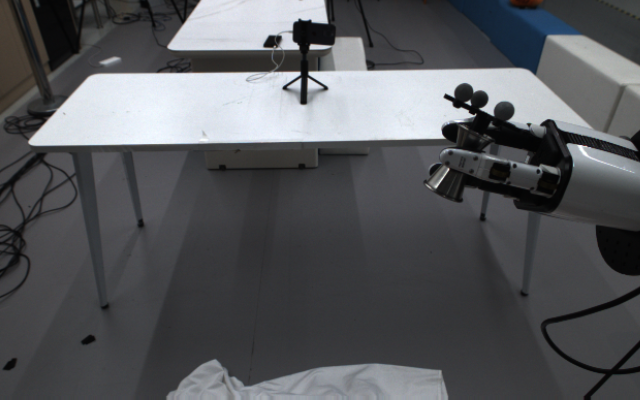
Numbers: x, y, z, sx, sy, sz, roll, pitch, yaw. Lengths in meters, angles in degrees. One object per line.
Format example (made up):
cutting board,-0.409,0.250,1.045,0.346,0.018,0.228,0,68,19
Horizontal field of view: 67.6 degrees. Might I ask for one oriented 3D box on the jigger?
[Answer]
jigger,0.136,-0.038,0.481,0.043,0.071,0.043,23,19,-8
